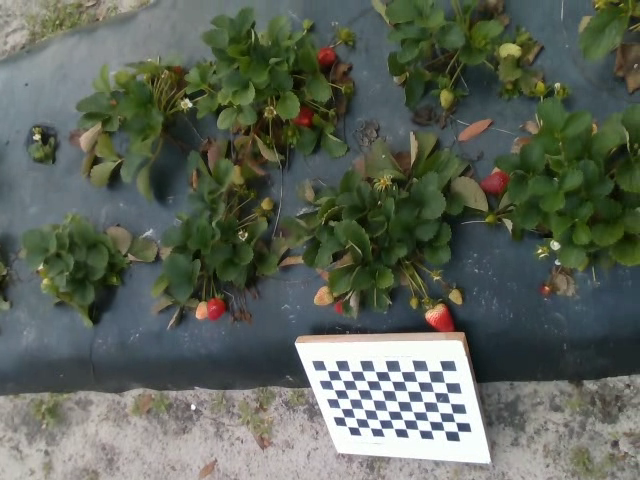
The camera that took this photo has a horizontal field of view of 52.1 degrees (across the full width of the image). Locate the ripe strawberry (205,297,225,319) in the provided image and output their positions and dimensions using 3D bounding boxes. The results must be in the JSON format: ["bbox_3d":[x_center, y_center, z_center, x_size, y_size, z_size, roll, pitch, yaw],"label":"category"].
[{"bbox_3d":[-0.182,0.119,1.096,0.034,0.042,0.033,22,-23,9],"label":"ripe strawberry"}]
